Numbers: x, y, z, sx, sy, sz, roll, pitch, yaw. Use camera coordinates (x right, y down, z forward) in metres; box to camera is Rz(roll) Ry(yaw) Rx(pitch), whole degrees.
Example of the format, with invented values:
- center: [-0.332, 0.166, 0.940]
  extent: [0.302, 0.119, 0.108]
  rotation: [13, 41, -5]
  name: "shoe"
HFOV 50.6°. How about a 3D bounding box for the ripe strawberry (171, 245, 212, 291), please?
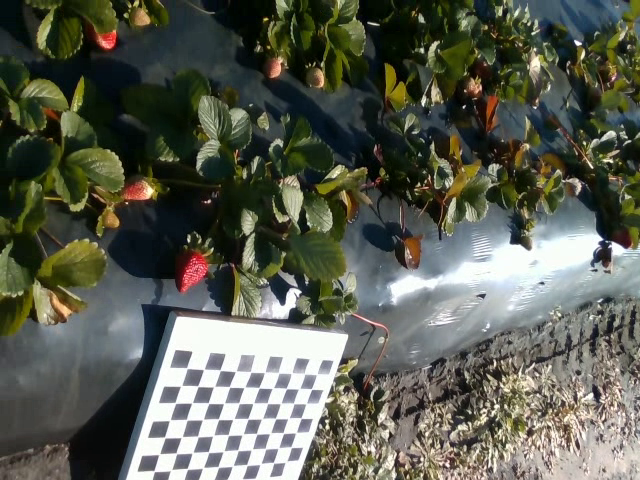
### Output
- center: [-0.155, 0.036, 0.755]
  extent: [0.058, 0.066, 0.062]
  rotation: [-20, 37, 2]
  name: "ripe strawberry"
